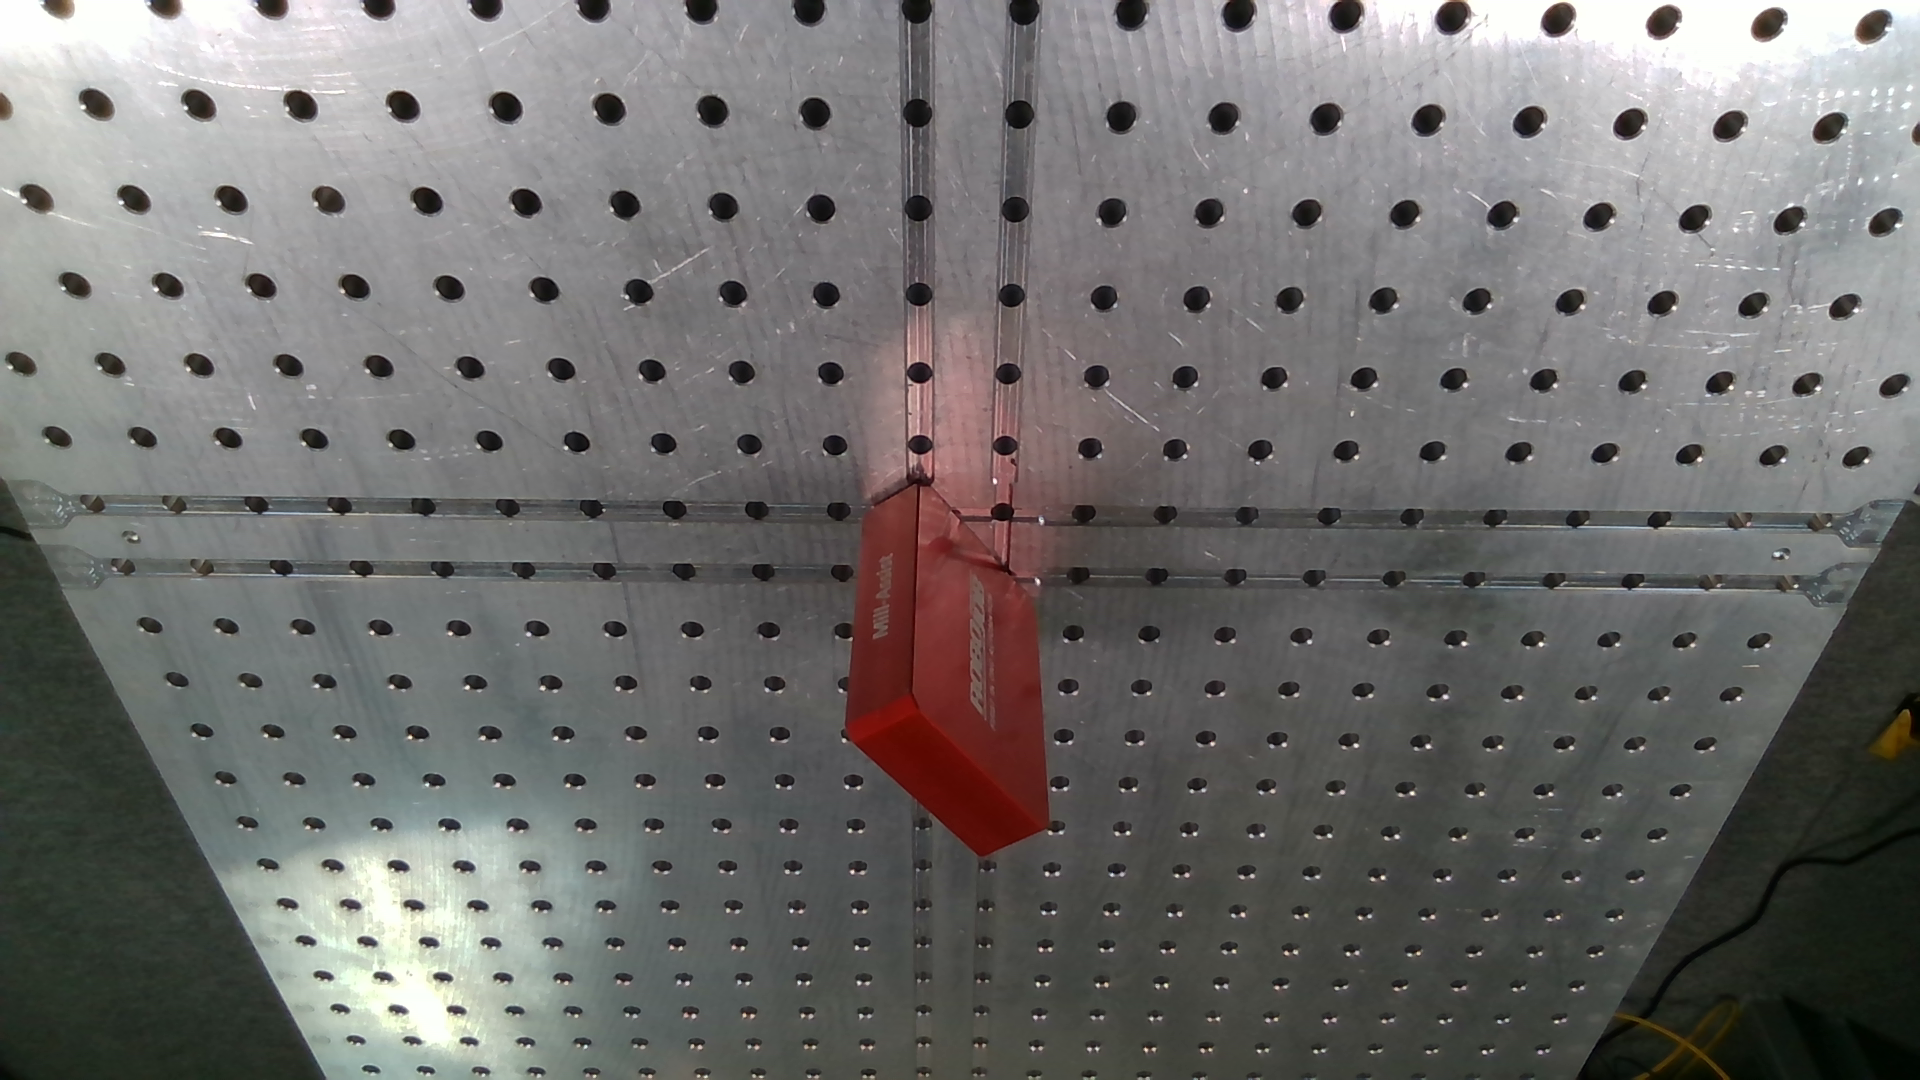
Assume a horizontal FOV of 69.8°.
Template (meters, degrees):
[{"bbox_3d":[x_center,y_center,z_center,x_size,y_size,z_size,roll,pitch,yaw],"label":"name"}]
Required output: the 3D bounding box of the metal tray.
[{"bbox_3d":[-0.003,0.048,0.554,0.030,0.130,0.090,-28,125,21],"label":"metal tray"}]
